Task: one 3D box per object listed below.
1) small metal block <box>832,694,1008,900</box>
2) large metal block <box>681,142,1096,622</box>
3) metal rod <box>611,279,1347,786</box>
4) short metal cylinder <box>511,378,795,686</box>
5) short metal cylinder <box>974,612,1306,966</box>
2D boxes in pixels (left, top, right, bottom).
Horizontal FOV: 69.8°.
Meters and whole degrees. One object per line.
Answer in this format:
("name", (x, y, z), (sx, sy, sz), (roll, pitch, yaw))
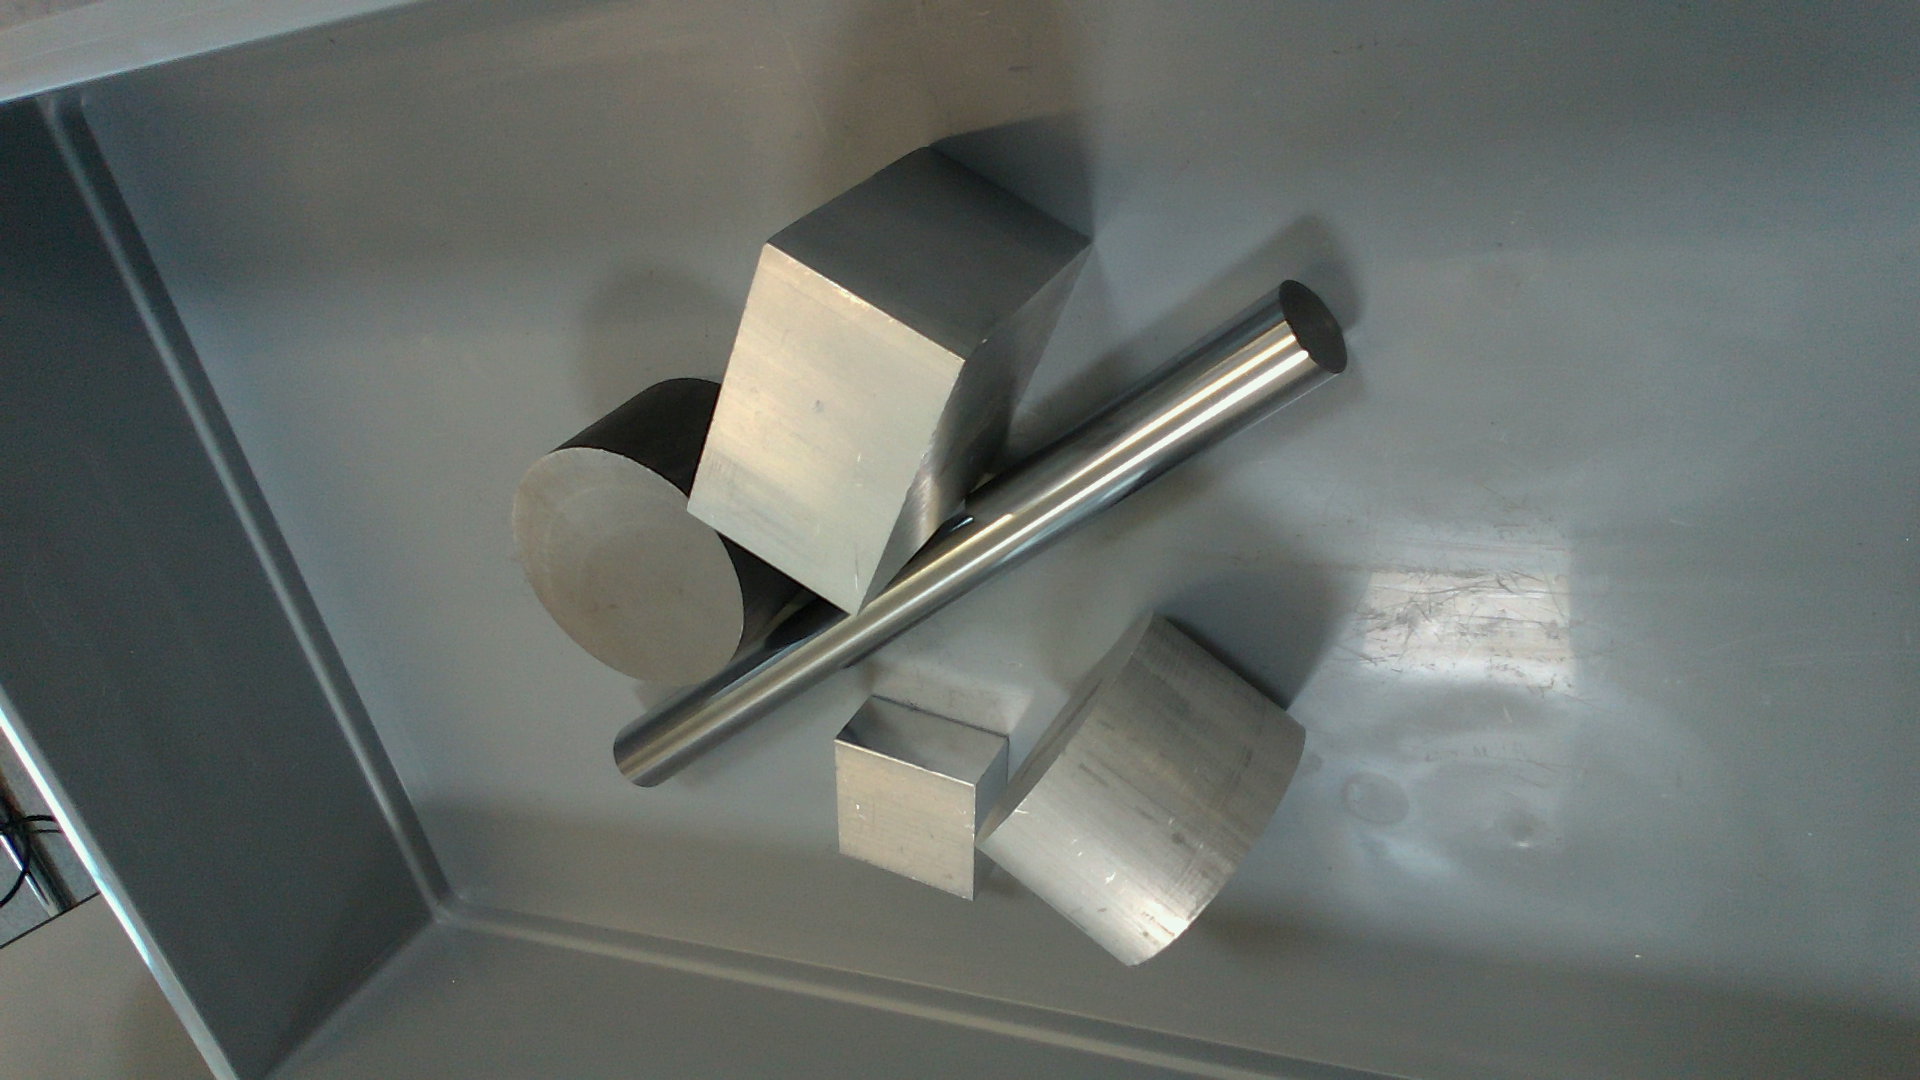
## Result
("small metal block", (-0.013, 0.084, 0.450), (0.050, 0.025, 0.050), (14, 124, 20))
("large metal block", (-0.017, -0.041, 0.340), (0.050, 0.080, 0.080), (32, 129, 8))
("metal rod", (-0.017, 0.014, 0.410), (0.299, 0.025, 0.025), (-33, 100, 38))
("short metal cylinder", (-0.088, -0.003, 0.420), (0.080, 0.050, 0.080), (13, 124, 21))
("short metal cylinder", (0.048, 0.066, 0.371), (0.050, 0.080, 0.080), (37, 129, 3))
